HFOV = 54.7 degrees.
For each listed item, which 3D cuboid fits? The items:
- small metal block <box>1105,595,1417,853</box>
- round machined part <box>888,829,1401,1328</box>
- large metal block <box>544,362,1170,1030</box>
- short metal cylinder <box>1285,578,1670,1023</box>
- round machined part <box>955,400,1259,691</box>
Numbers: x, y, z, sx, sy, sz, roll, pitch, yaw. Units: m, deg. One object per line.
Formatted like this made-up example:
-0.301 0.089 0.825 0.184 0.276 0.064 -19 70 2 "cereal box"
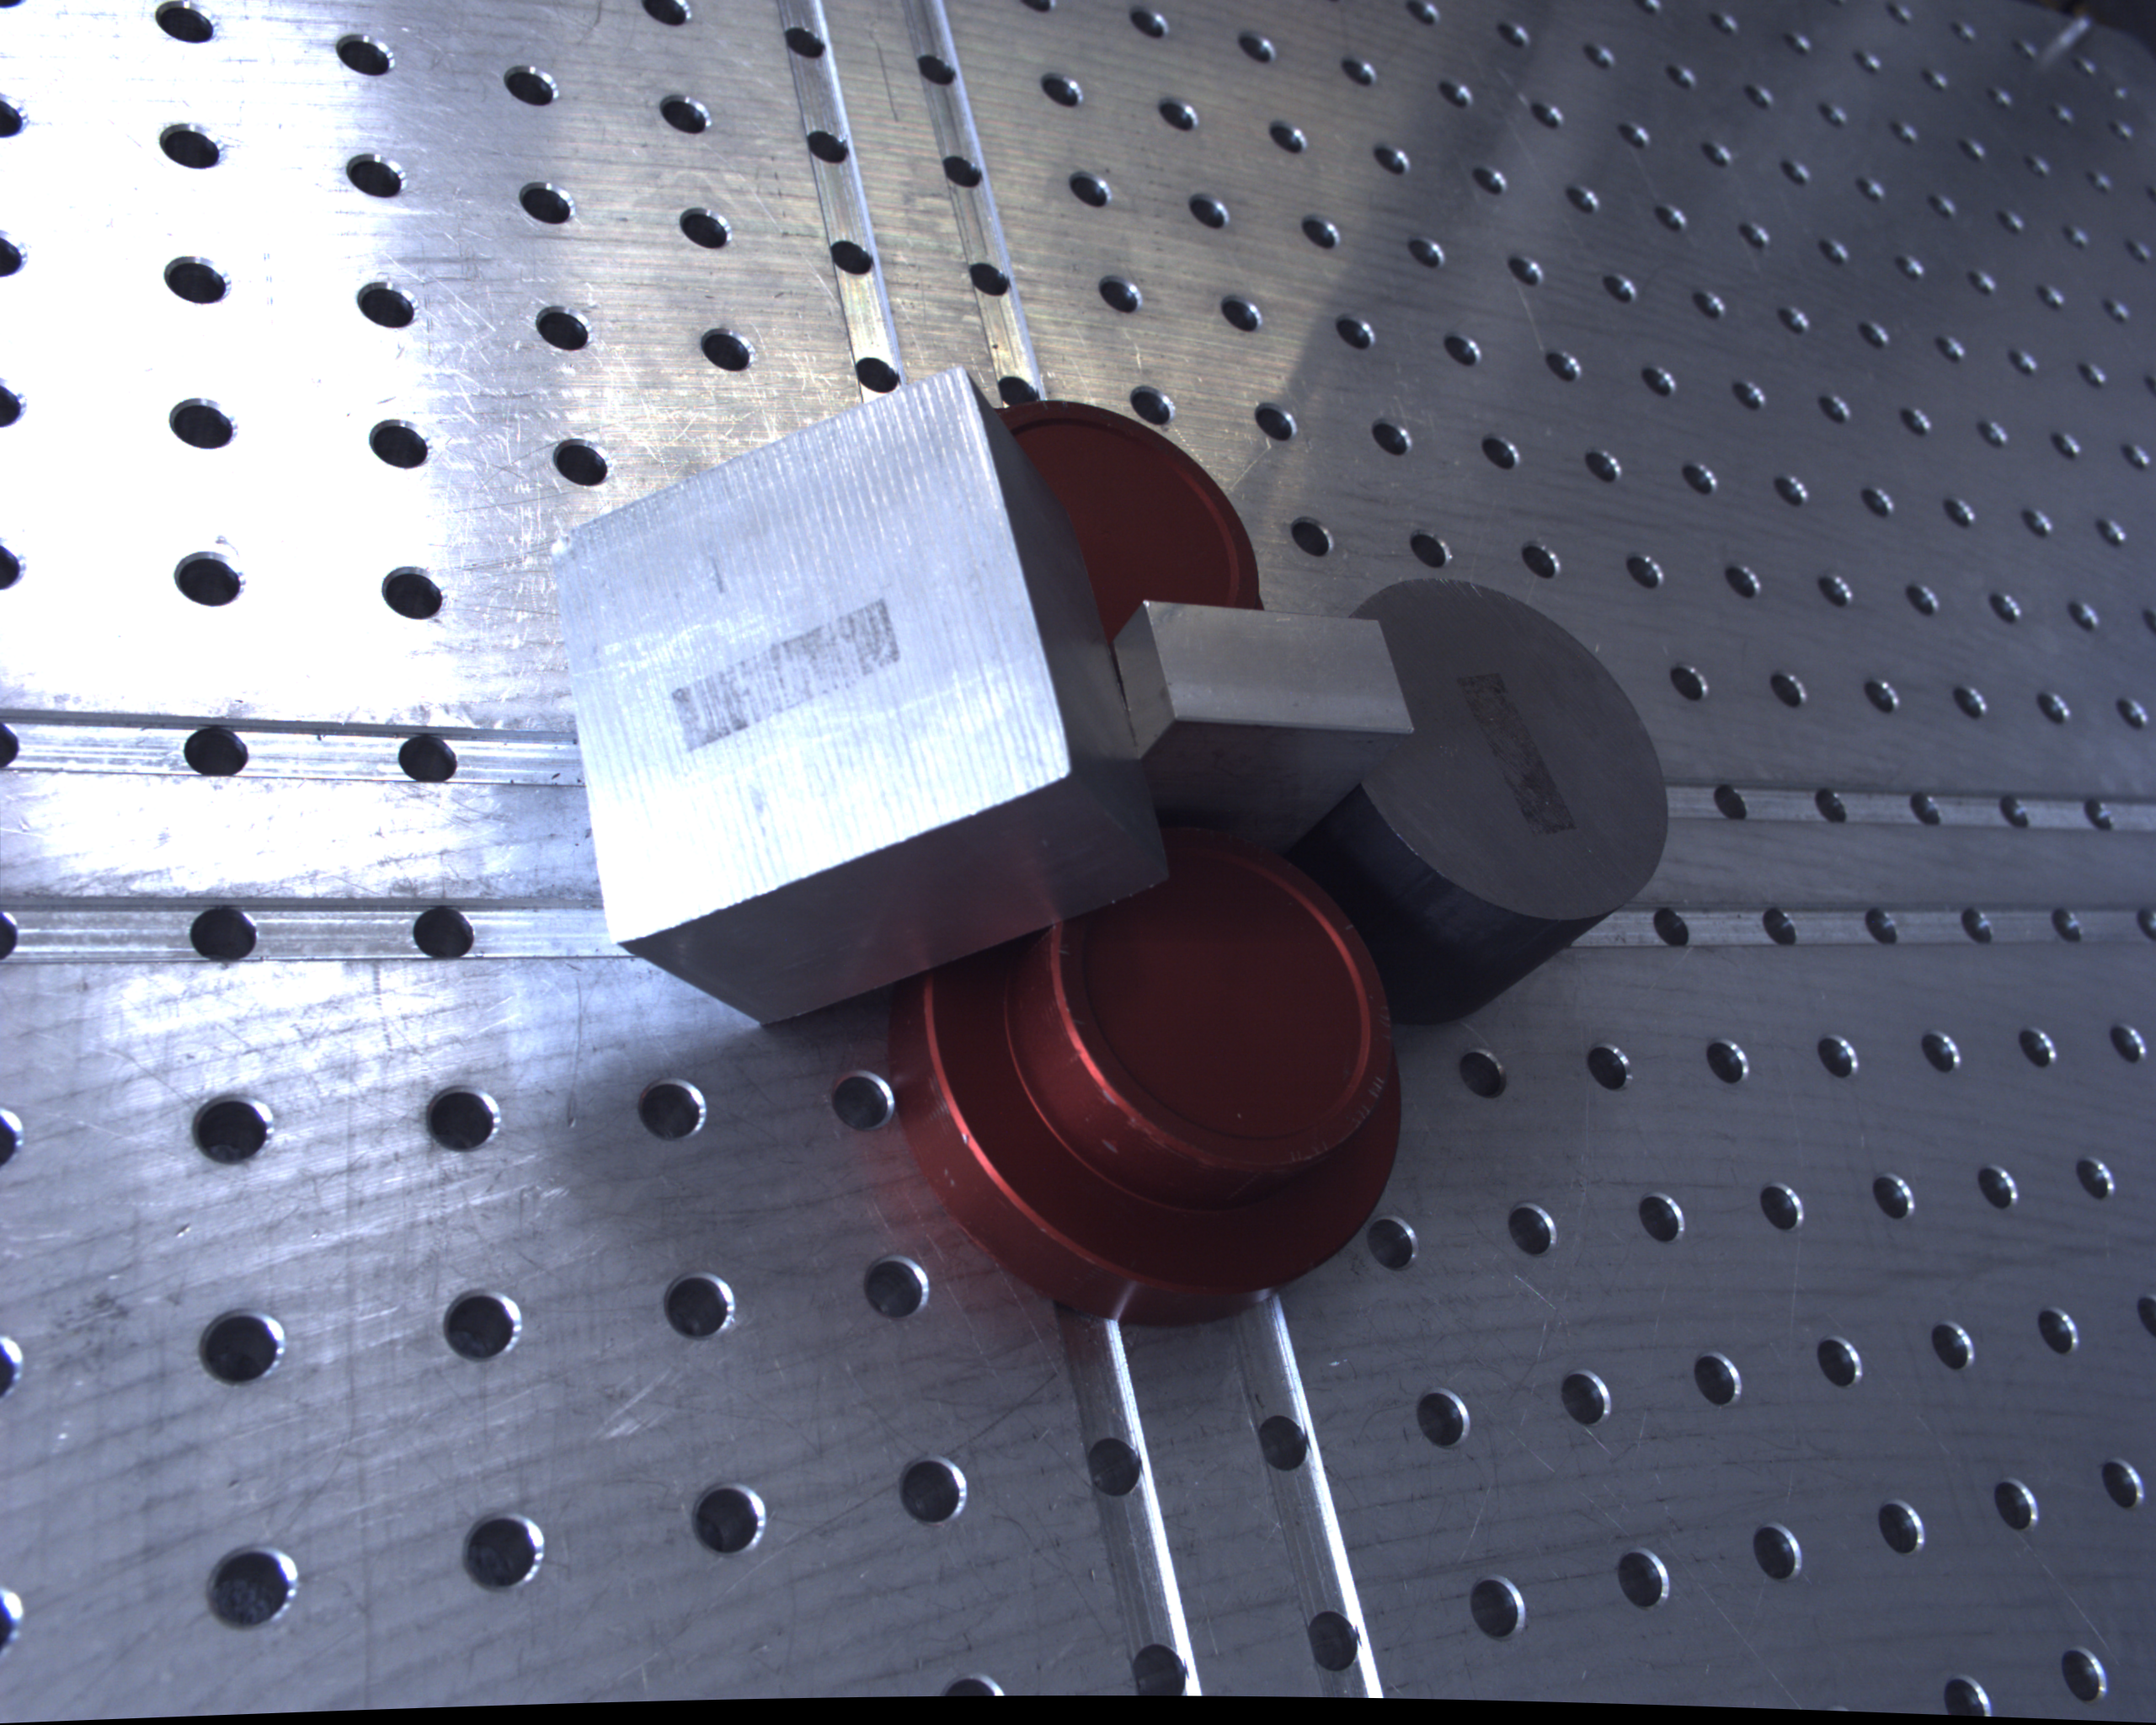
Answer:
0.026 -0.024 0.392 0.050 0.050 0.025 1 61 -28 "small metal block"
0.018 0.033 0.387 0.099 0.042 0.098 14 56 -21 "round machined part"
-0.039 -0.027 0.361 0.050 0.080 0.080 44 28 -62 "large metal block"
0.076 -0.013 0.439 0.081 0.050 0.080 14 56 -21 "short metal cylinder"
-0.003 -0.056 0.430 0.099 0.042 0.098 14 56 -21 "round machined part"
